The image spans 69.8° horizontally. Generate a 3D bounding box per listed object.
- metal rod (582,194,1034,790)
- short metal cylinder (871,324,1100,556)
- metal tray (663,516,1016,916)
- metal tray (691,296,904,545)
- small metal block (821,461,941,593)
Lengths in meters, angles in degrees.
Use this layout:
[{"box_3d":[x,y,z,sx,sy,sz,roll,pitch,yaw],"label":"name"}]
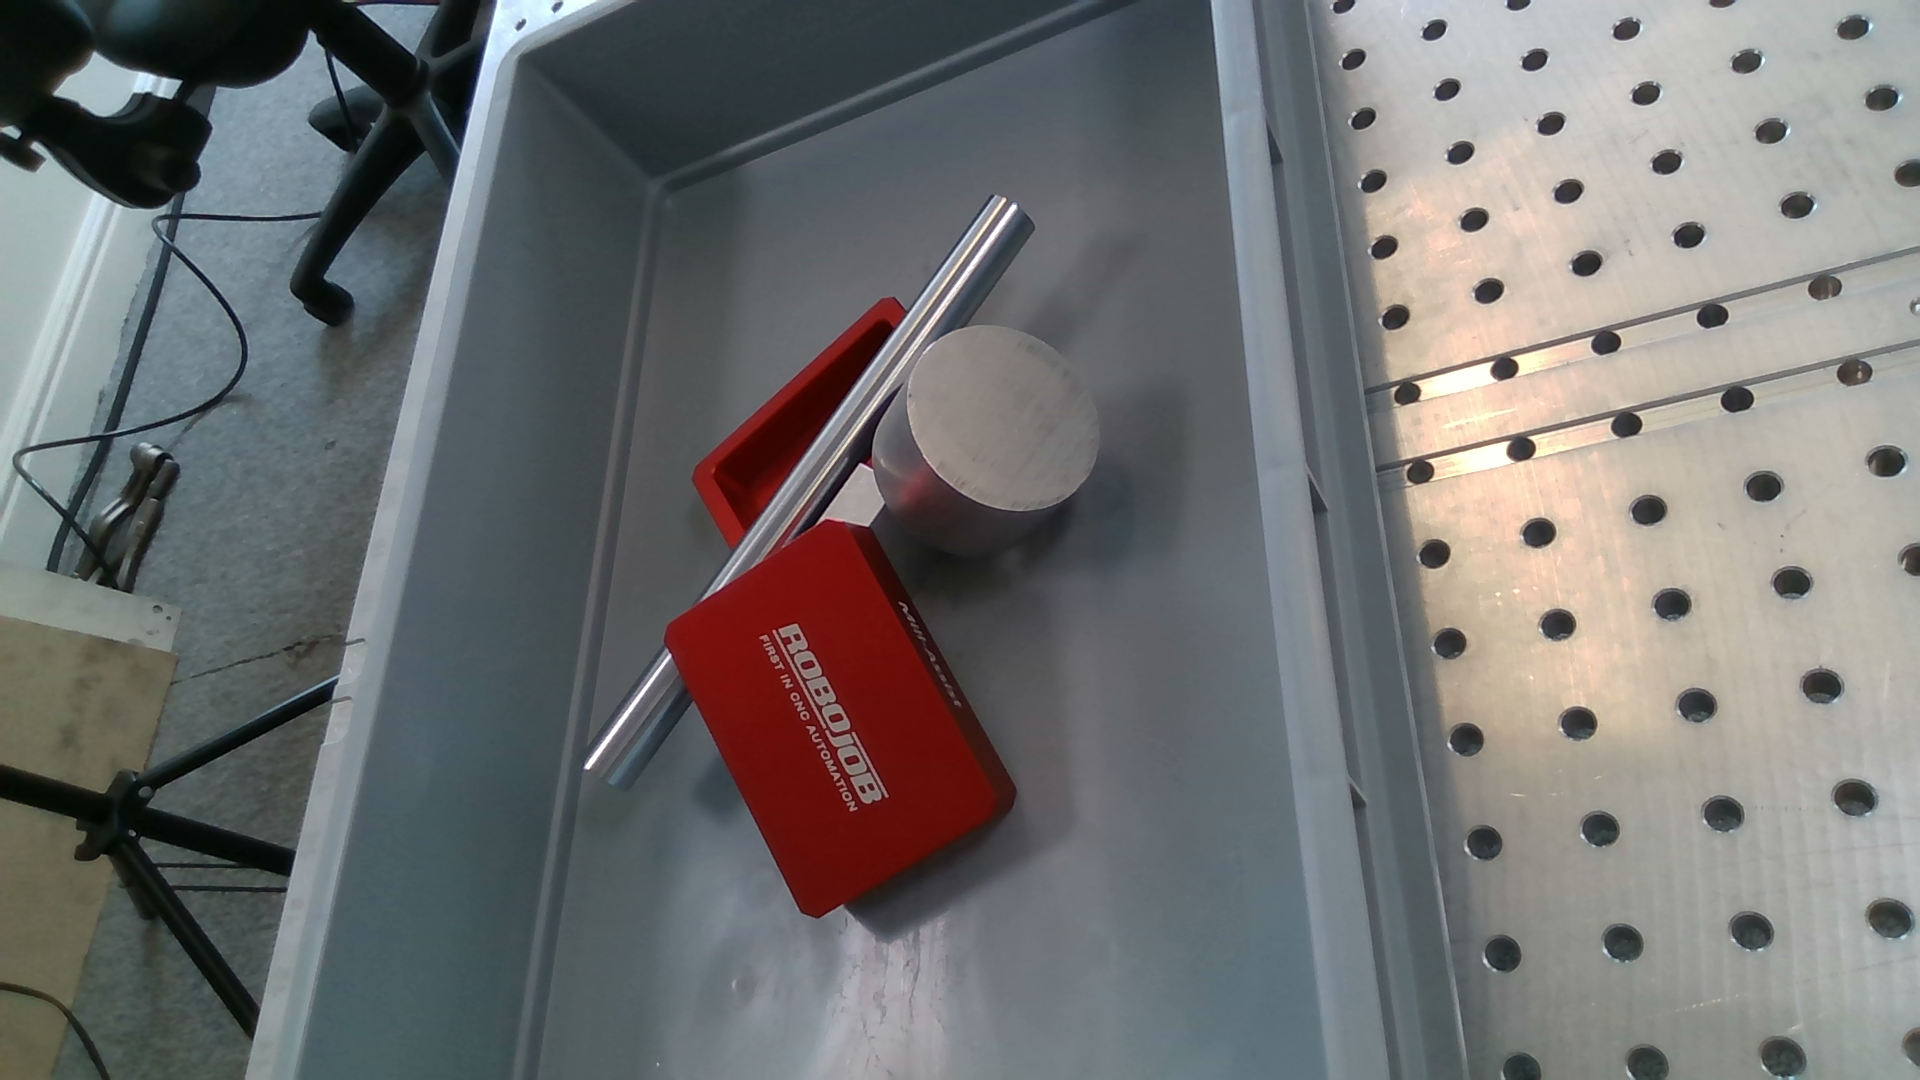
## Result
[{"box_3d":[-0.064,-0.023,0.597,0.025,0.025,0.300,32,85,39],"label":"metal rod"},{"box_3d":[0.009,-0.039,0.556,0.050,0.080,0.080,133,148,-61],"label":"short metal cylinder"},{"box_3d":[-0.049,0.068,0.542,0.090,0.030,0.130,-33,77,13],"label":"metal tray"},{"box_3d":[-0.055,-0.040,0.635,0.130,0.030,0.090,-41,51,7],"label":"metal tray"},{"box_3d":[-0.037,0.002,0.589,0.025,0.050,0.050,31,84,39],"label":"small metal block"}]
